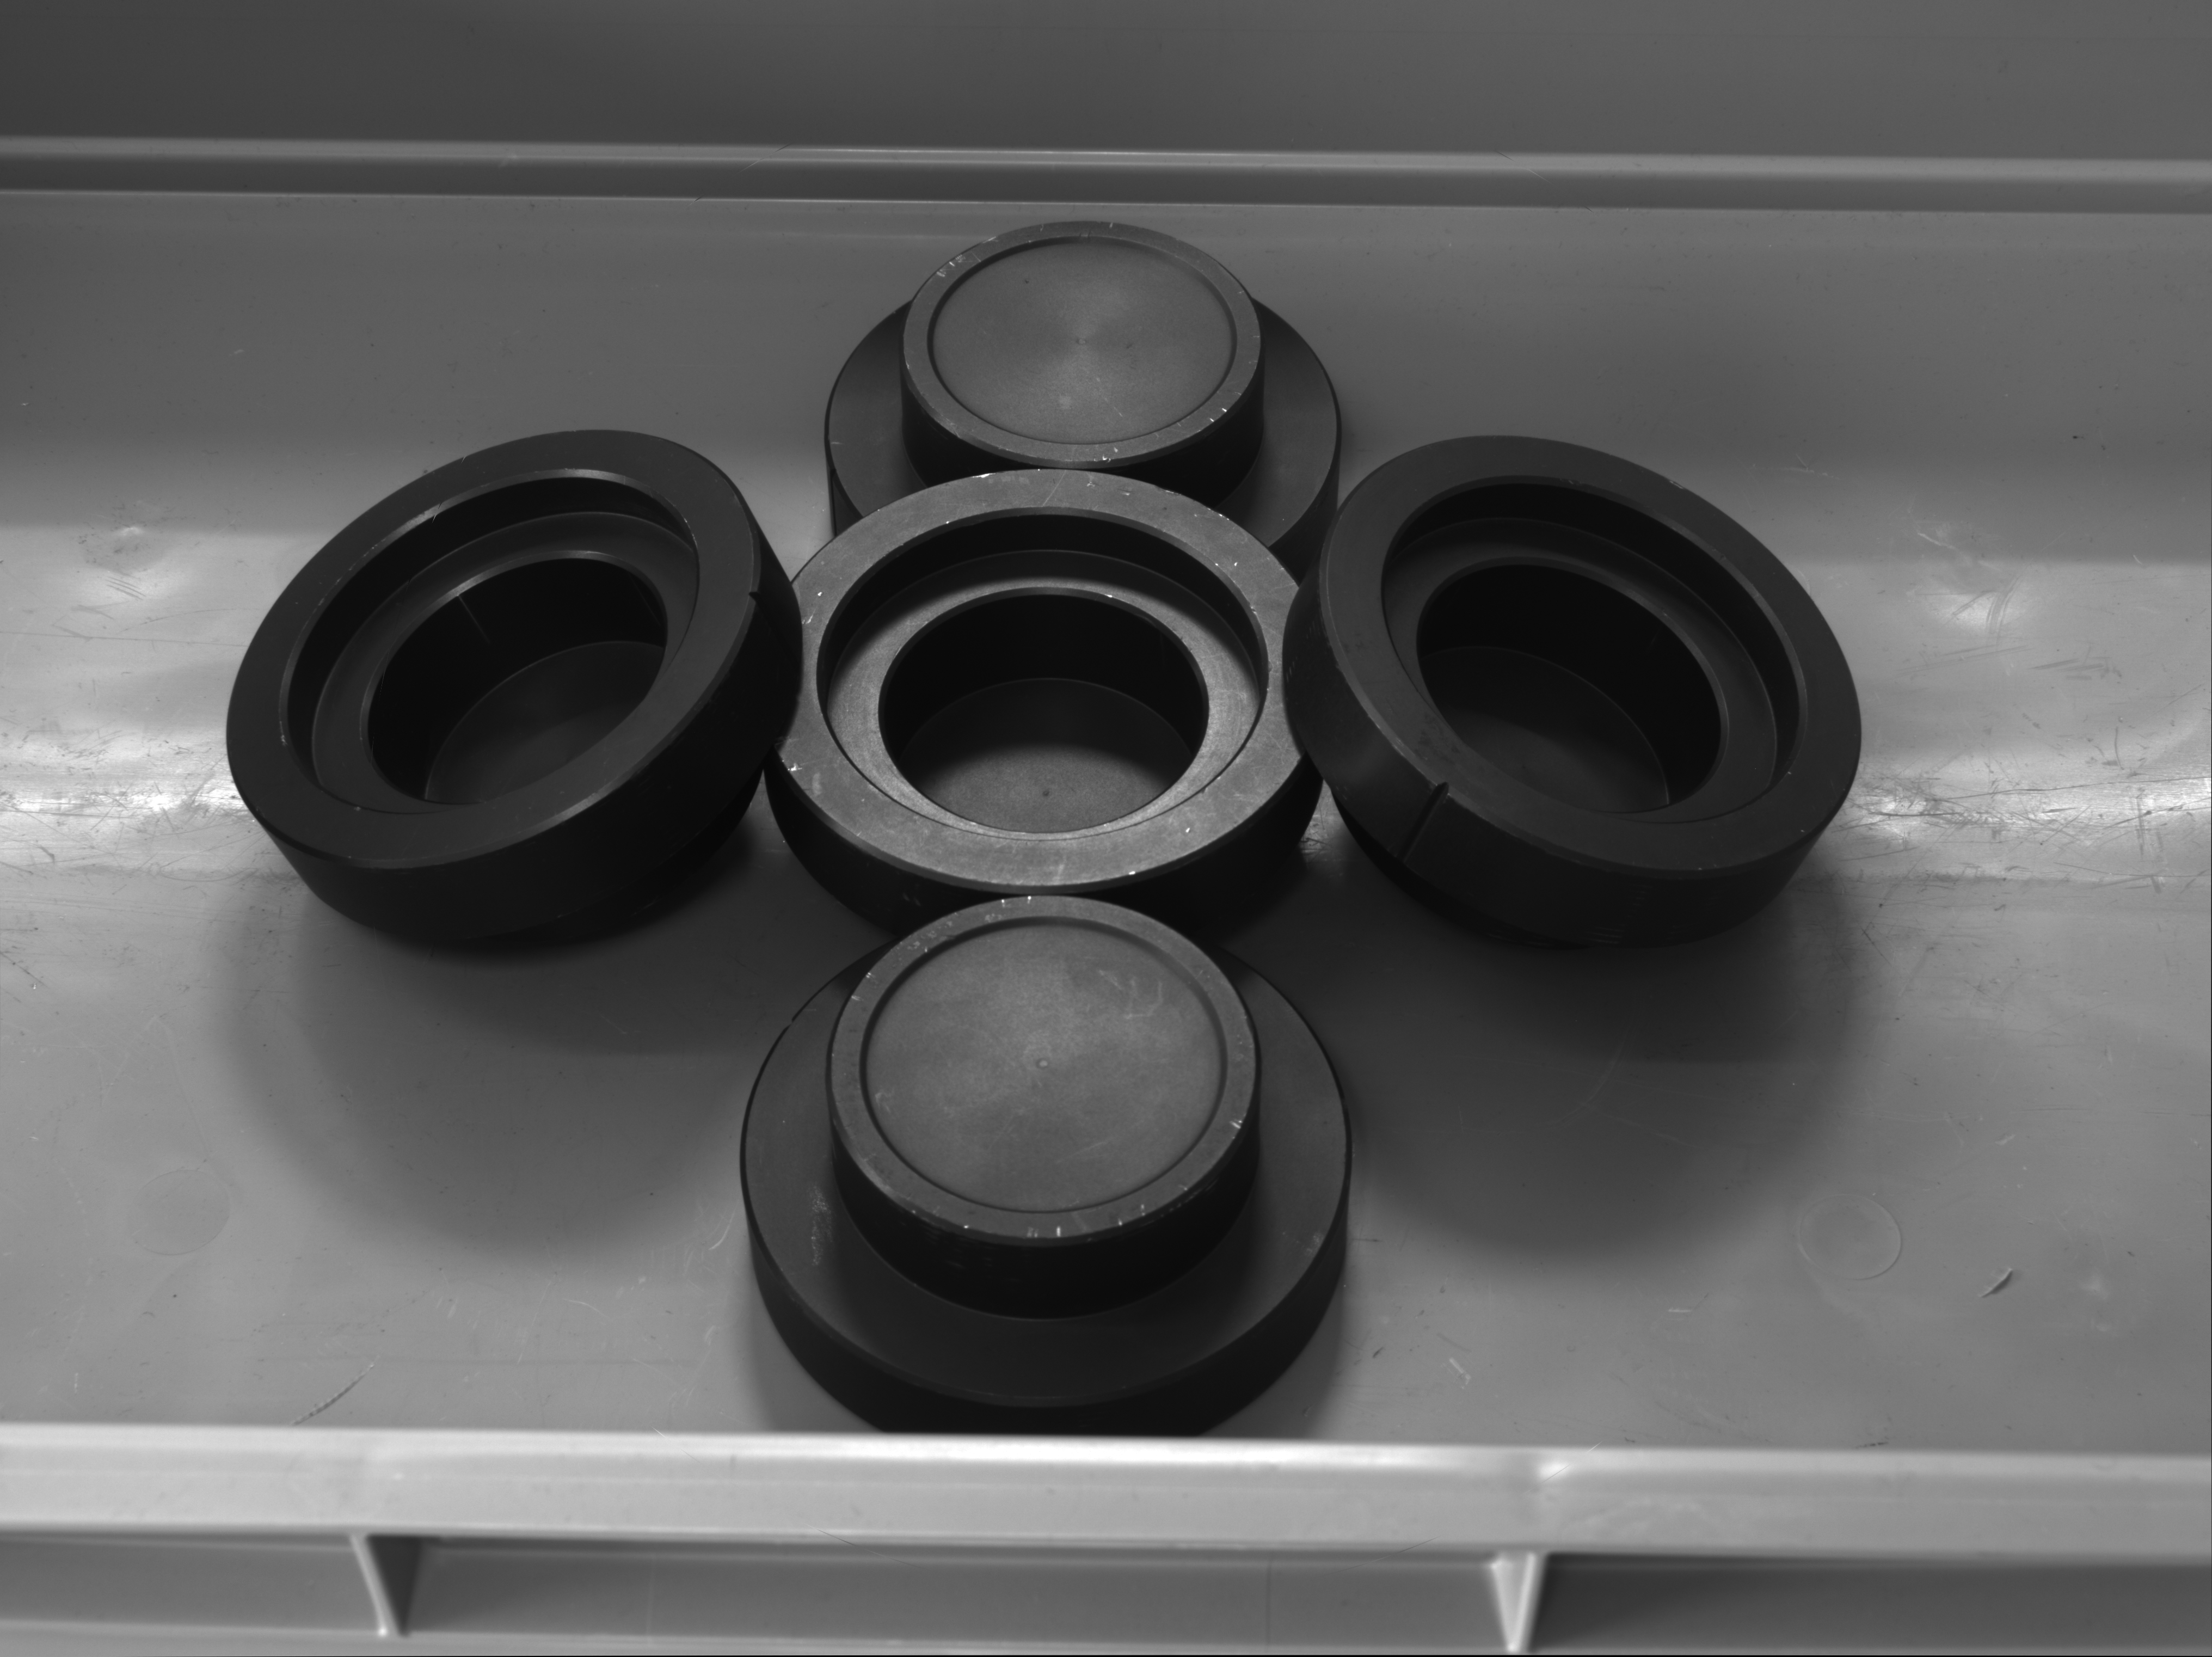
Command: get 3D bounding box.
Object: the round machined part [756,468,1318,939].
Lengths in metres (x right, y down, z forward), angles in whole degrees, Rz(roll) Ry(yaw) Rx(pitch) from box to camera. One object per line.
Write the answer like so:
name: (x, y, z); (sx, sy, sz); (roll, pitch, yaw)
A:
round machined part: (-0.011, -0.014, 0.640); (0.098, 0.042, 0.098); (0, 50, 0)

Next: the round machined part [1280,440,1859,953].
round machined part: (0.076, -0.018, 0.633); (0.098, 0.042, 0.098); (11, 49, -12)

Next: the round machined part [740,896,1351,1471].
round machined part: (-0.010, 0.050, 0.587); (0.098, 0.042, 0.098); (0, 50, 0)

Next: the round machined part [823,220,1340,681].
round machined part: (-0.005, -0.077, 0.694); (0.098, 0.042, 0.098); (0, 50, 0)

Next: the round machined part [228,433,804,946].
round machined part: (-0.098, -0.019, 0.634); (0.098, 0.042, 0.098); (-11, 48, 13)
